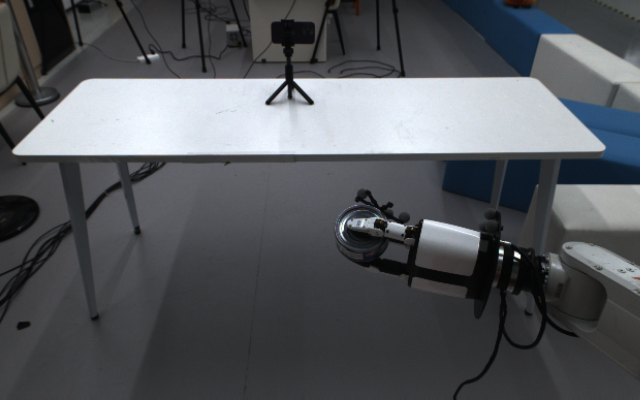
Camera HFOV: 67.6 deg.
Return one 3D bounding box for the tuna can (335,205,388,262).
[{"bbox_3d":[0.069,0.056,0.744,0.085,0.034,0.085,-4,58,6],"label":"tuna can"}]
